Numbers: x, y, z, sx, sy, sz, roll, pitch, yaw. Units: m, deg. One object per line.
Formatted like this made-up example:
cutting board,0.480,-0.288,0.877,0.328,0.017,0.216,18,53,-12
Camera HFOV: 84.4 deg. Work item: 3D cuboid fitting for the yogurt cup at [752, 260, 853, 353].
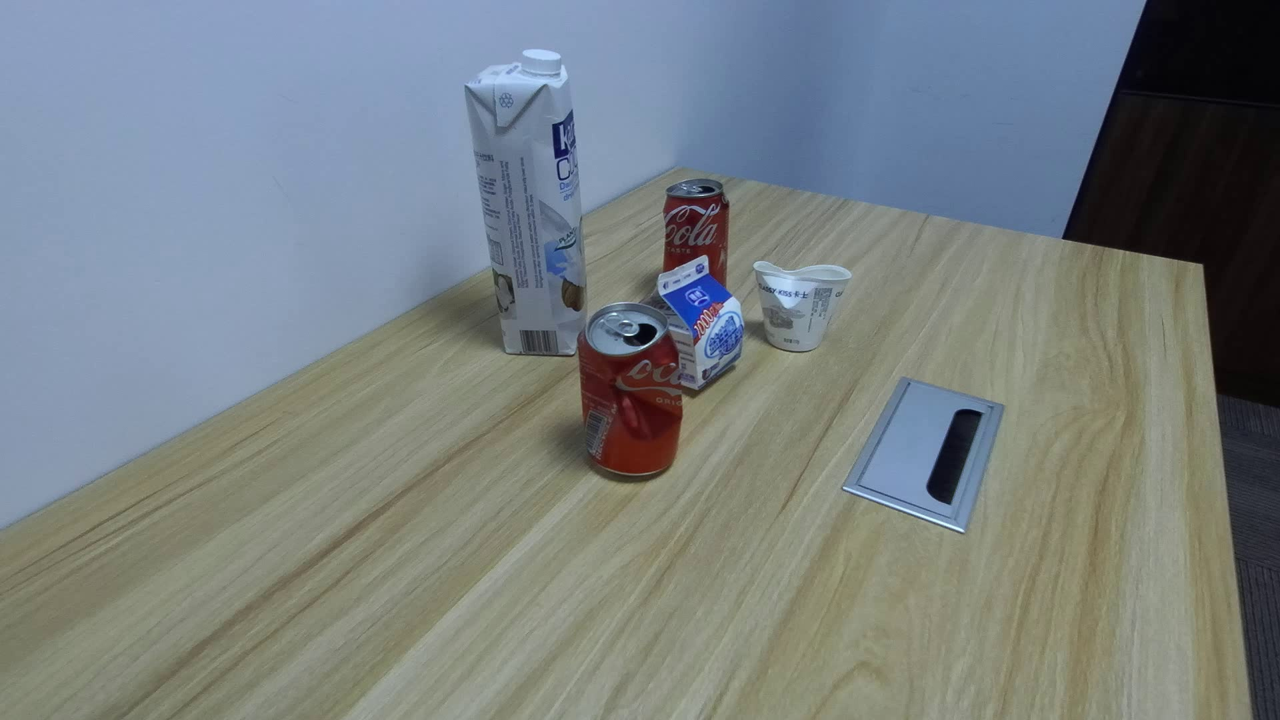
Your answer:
yogurt cup,0.139,-0.051,0.629,0.075,0.071,0.053,-9,34,-18

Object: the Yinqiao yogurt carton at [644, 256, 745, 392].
Yinqiao yogurt carton,0.040,-0.035,0.582,0.080,0.097,0.075,17,36,37

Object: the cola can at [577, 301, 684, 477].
cola can,-0.006,0.021,0.481,0.066,0.112,0.069,-10,35,-12

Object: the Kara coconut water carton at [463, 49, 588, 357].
Kara coconut water carton,-0.088,-0.123,0.586,0.075,0.245,0.077,3,34,7

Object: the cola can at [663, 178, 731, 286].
cola can,0.054,-0.111,0.685,0.065,0.117,0.072,17,32,25
